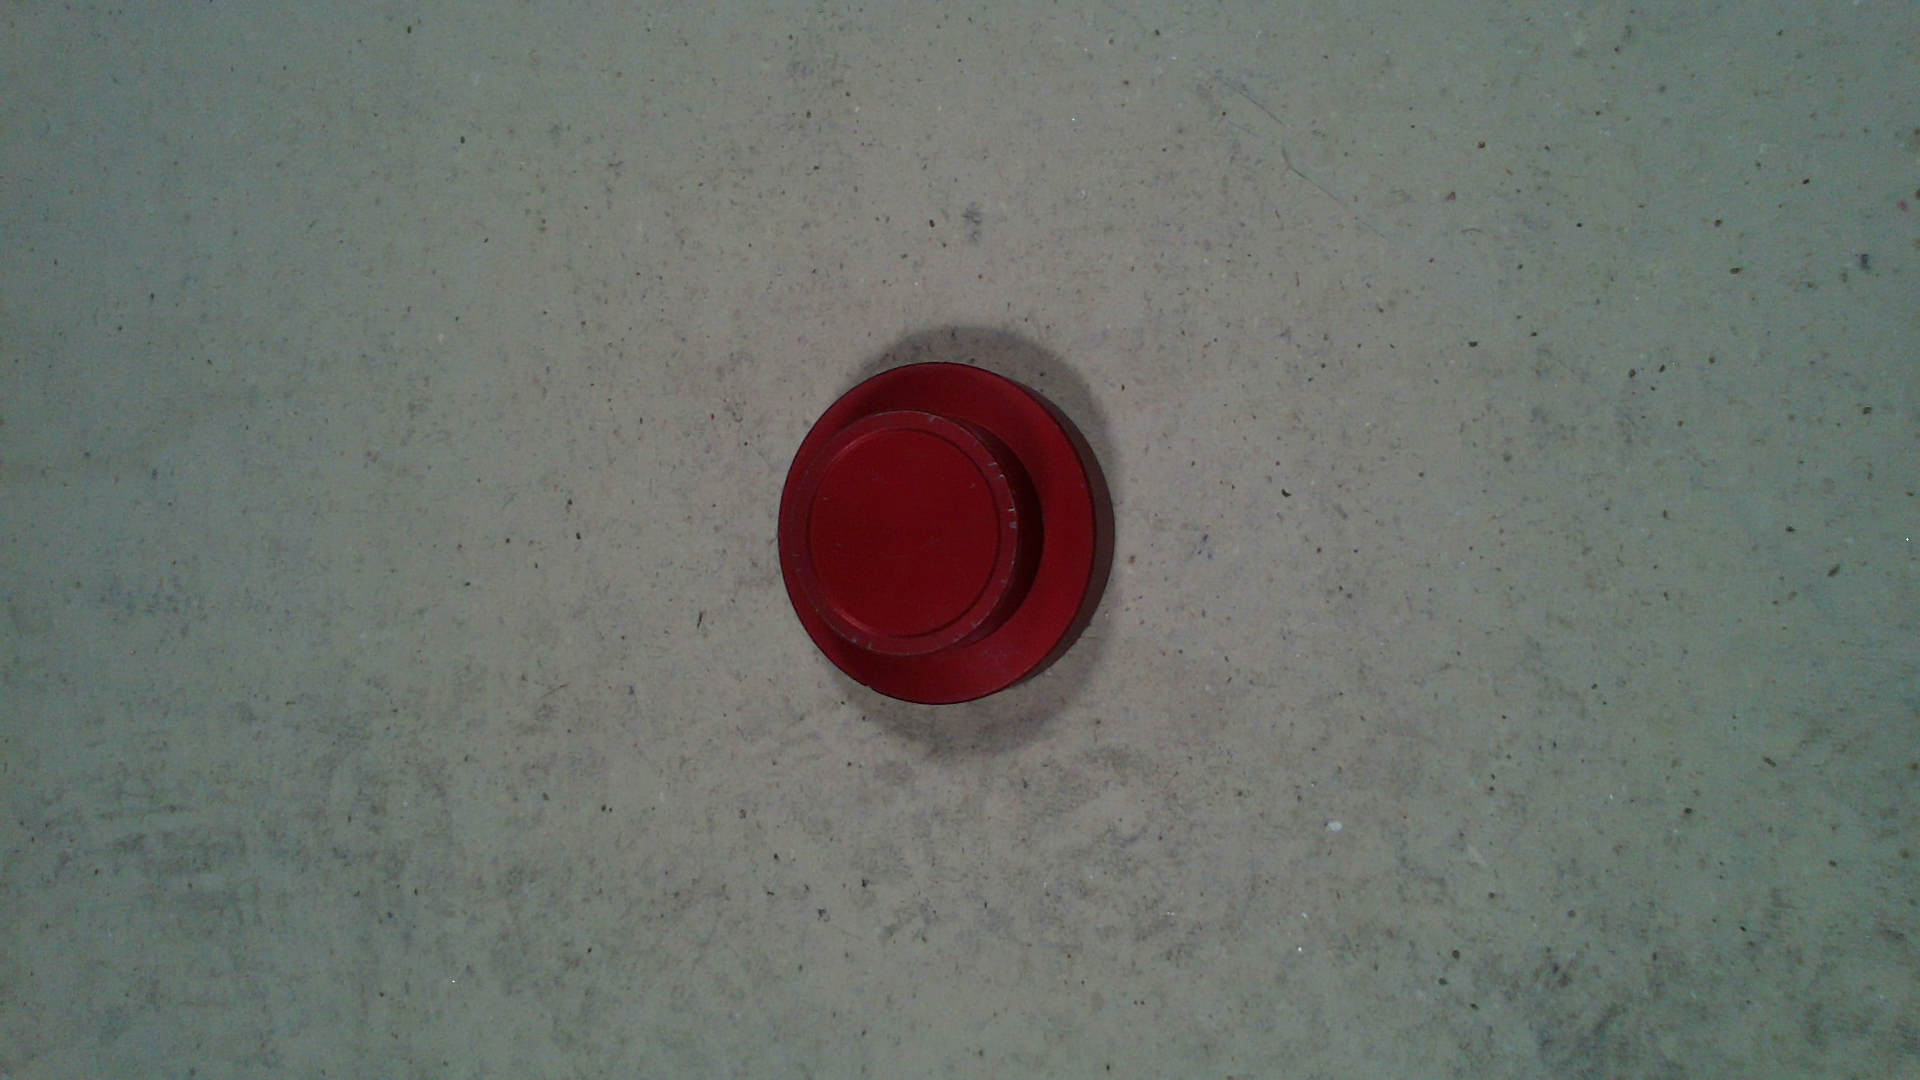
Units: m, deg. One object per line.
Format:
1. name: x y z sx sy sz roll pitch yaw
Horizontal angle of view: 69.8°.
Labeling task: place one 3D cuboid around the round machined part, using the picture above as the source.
1. round machined part: -0.009 -0.002 0.390 0.098 0.042 0.098 0 90 20
